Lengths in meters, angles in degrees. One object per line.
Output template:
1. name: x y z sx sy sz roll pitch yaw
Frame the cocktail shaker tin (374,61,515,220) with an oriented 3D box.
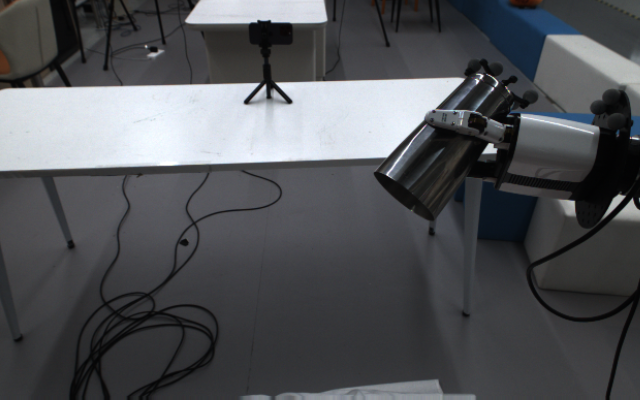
1. cocktail shaker tin: 0.155 -0.073 0.585 0.170 0.093 0.093 -48 49 -4
